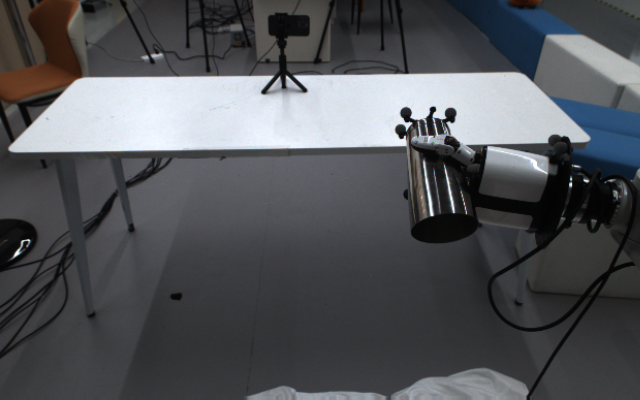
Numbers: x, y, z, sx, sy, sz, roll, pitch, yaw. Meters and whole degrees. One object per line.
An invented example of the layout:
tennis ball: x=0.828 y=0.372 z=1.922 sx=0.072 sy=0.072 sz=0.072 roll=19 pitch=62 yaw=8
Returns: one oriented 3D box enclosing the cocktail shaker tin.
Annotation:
cocktail shaker tin: x=0.167 y=-0.034 z=0.699 sx=0.093 sy=0.093 sz=0.170 roll=0 pitch=59 yaw=-3
